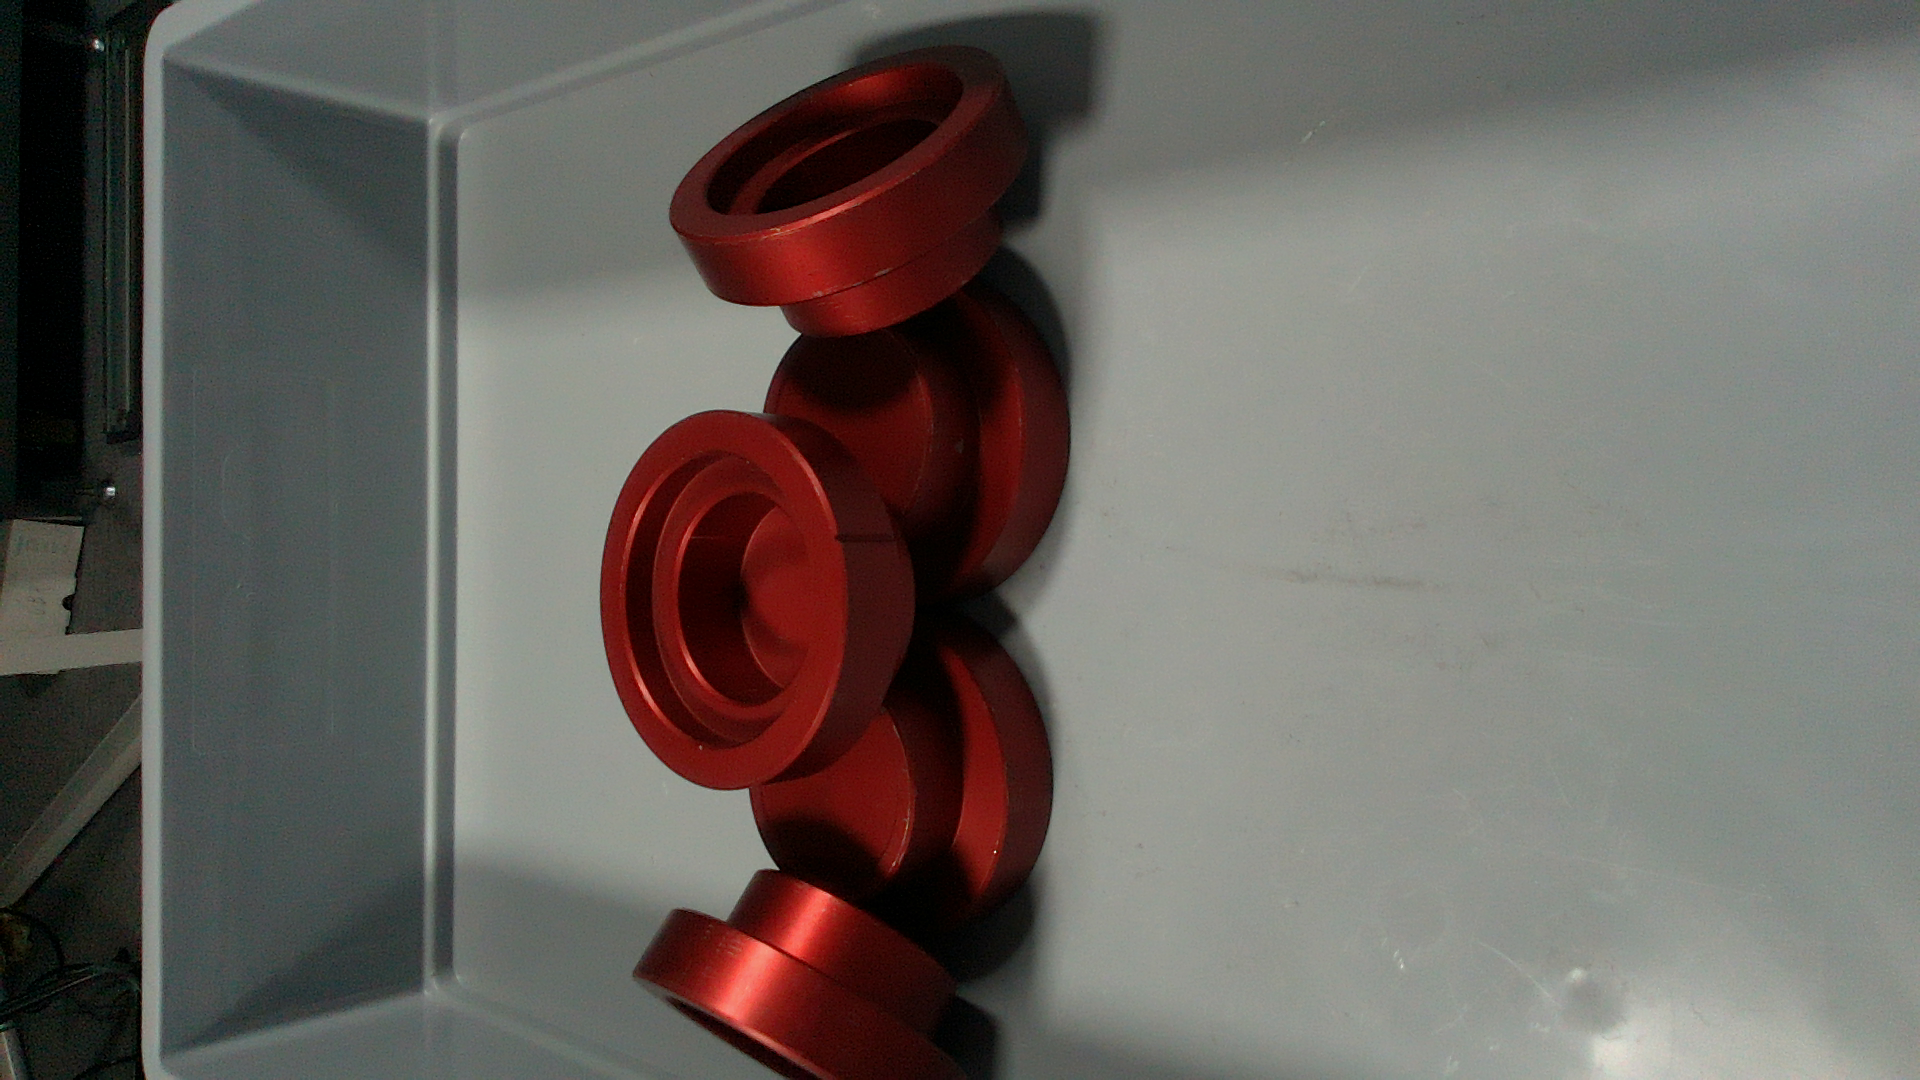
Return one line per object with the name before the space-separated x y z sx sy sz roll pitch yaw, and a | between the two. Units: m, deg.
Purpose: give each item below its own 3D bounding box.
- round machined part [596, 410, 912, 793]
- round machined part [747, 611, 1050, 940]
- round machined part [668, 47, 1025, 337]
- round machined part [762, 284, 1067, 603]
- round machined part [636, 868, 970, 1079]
round machined part | -0.051 0.016 0.369 0.098 0.042 0.098 0 90 40
round machined part | -0.025 0.068 0.402 0.098 0.042 0.098 0 90 40
round machined part | -0.028 -0.093 0.381 0.098 0.098 0.042 9 138 40
round machined part | -0.020 -0.030 0.399 0.098 0.042 0.098 0 90 40
round machined part | -0.040 0.129 0.392 0.098 0.098 0.042 8 58 40
